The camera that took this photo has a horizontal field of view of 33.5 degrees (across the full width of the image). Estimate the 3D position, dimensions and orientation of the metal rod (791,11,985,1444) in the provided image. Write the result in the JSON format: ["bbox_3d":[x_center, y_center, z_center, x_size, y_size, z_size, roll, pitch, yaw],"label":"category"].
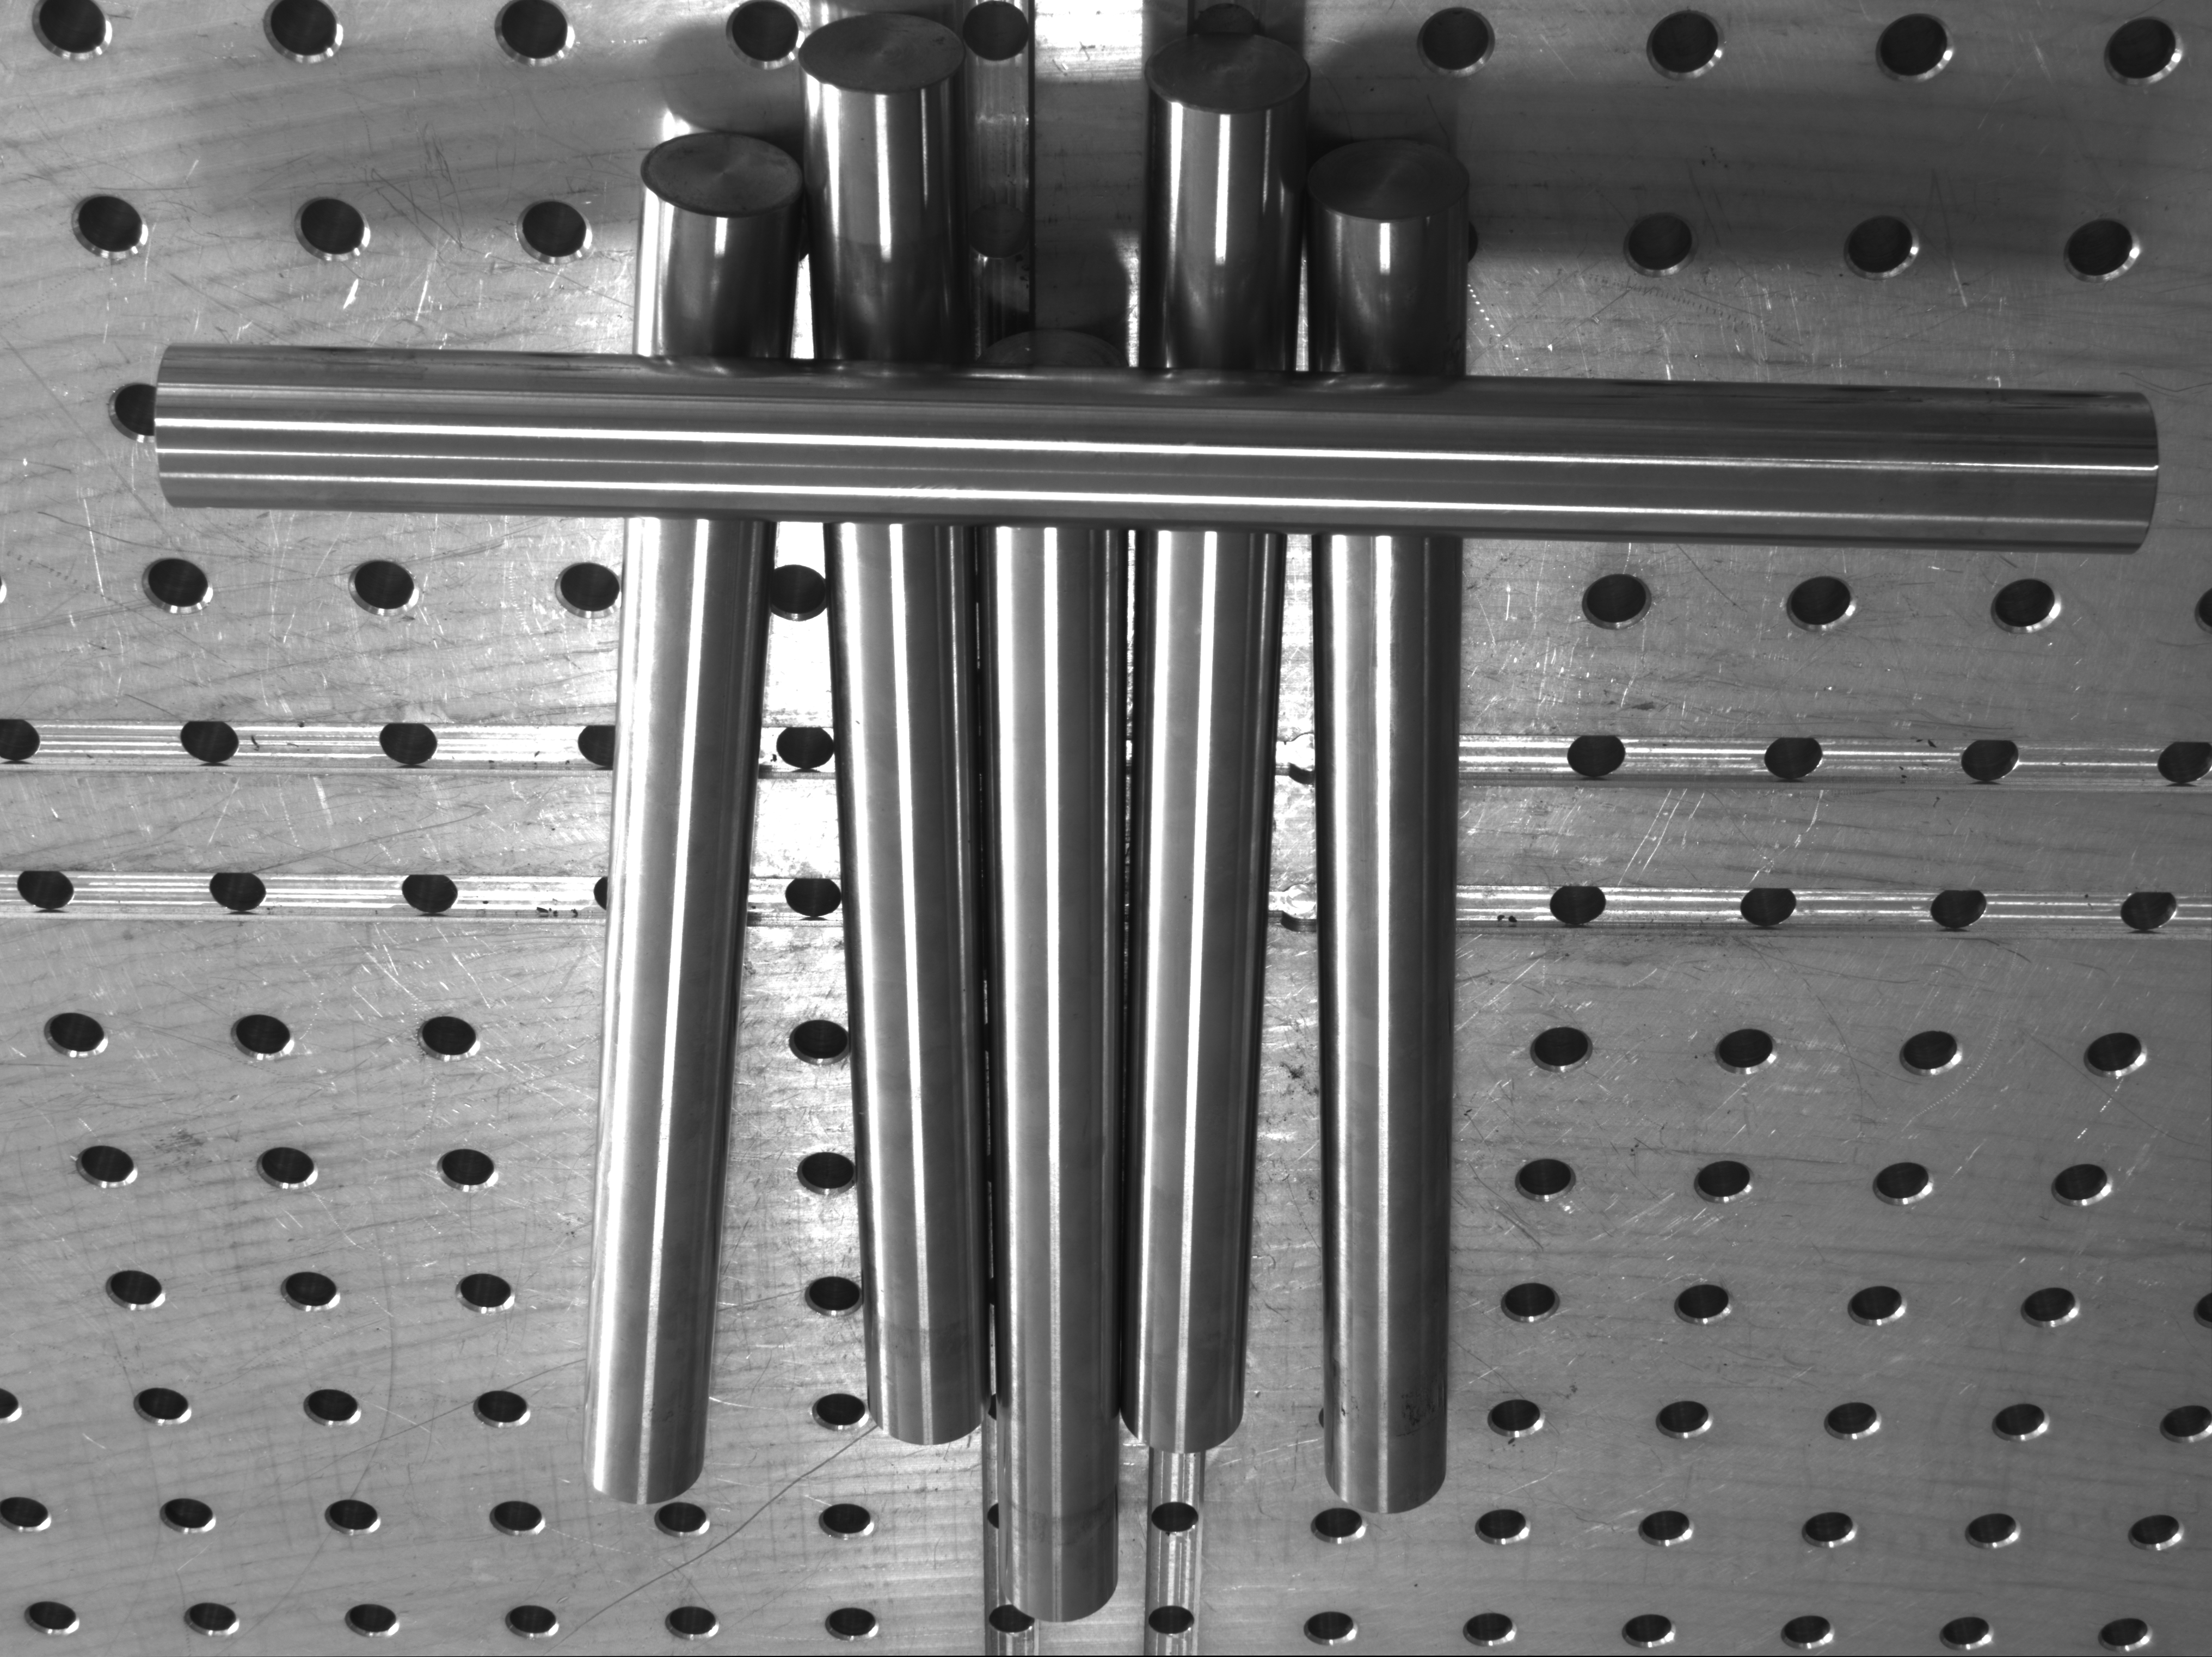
[{"bbox_3d":[-0.035,-0.001,0.643,0.025,0.025,0.300,0,130,0],"label":"metal rod"}]

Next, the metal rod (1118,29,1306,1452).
[{"bbox_3d":[0.016,0.001,0.646,0.025,0.025,0.300,0,130,0],"label":"metal rod"}]

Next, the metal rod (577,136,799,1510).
[{"bbox_3d":[-0.077,0.015,0.654,0.025,0.025,0.300,5,130,-4],"label":"metal rod"}]

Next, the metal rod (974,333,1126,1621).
[{"bbox_3d":[-0.010,0.043,0.678,0.025,0.025,0.300,0,130,0],"label":"metal rod"}]

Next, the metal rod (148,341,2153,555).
[{"bbox_3d":[0.007,-0.058,0.561,0.300,0.025,0.025,1,130,-1],"label":"metal rod"}]

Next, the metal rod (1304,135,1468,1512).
[{"bbox_3d":[0.050,0.015,0.656,0.025,0.025,0.300,-2,130,2],"label":"metal rod"}]
